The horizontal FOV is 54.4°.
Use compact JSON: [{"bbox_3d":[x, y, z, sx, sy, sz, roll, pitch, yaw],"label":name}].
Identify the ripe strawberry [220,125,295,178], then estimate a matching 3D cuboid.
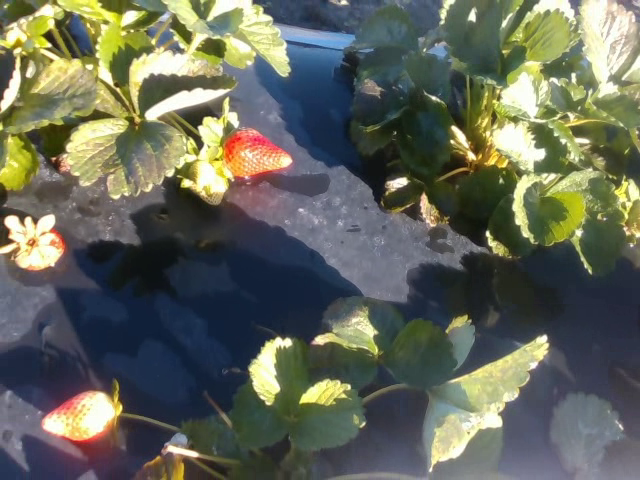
[{"bbox_3d":[-0.051,-0.068,0.498,0.064,0.050,0.052,11,1,4],"label":"ripe strawberry"}]
